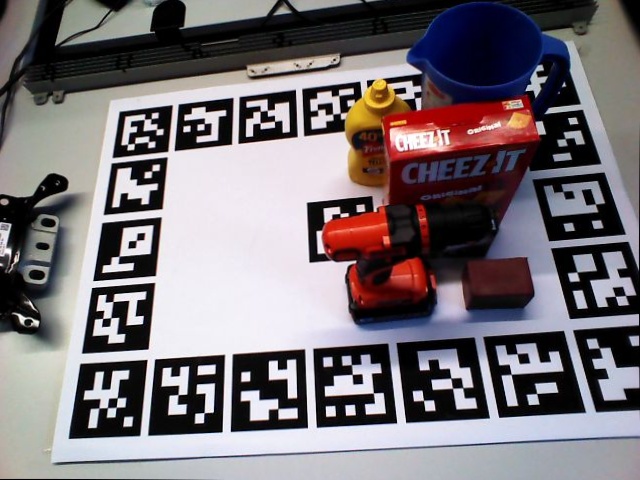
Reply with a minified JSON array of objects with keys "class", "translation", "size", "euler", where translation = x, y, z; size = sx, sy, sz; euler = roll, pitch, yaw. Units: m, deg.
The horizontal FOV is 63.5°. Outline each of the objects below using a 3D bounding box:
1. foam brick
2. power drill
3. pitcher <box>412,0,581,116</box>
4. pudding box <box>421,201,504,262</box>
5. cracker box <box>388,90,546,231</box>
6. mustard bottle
[{"class":"foam brick","translation":[0.241,0.057,0.671],"size":[0.078,0.051,0.052],"euler":[-3,67,8]},{"class":"power drill","translation":[0.108,0.024,0.595],"size":[0.185,0.187,0.057],"euler":[-6,62,5]},{"class":"pitcher","translation":[0.217,-0.175,0.677],"size":[0.189,0.243,0.132],"euler":[0,66,11]},{"class":"pudding box","translation":[0.177,-0.009,0.675],"size":[0.114,0.090,0.038],"euler":[-5,64,10]},{"class":"cracker box","translation":[0.175,-0.076,0.645],"size":[0.165,0.214,0.071],"euler":[-8,63,8]},{"class":"mustard bottle","translation":[0.087,-0.157,0.703],"size":[0.096,0.192,0.058],"euler":[7,68,12]}]
